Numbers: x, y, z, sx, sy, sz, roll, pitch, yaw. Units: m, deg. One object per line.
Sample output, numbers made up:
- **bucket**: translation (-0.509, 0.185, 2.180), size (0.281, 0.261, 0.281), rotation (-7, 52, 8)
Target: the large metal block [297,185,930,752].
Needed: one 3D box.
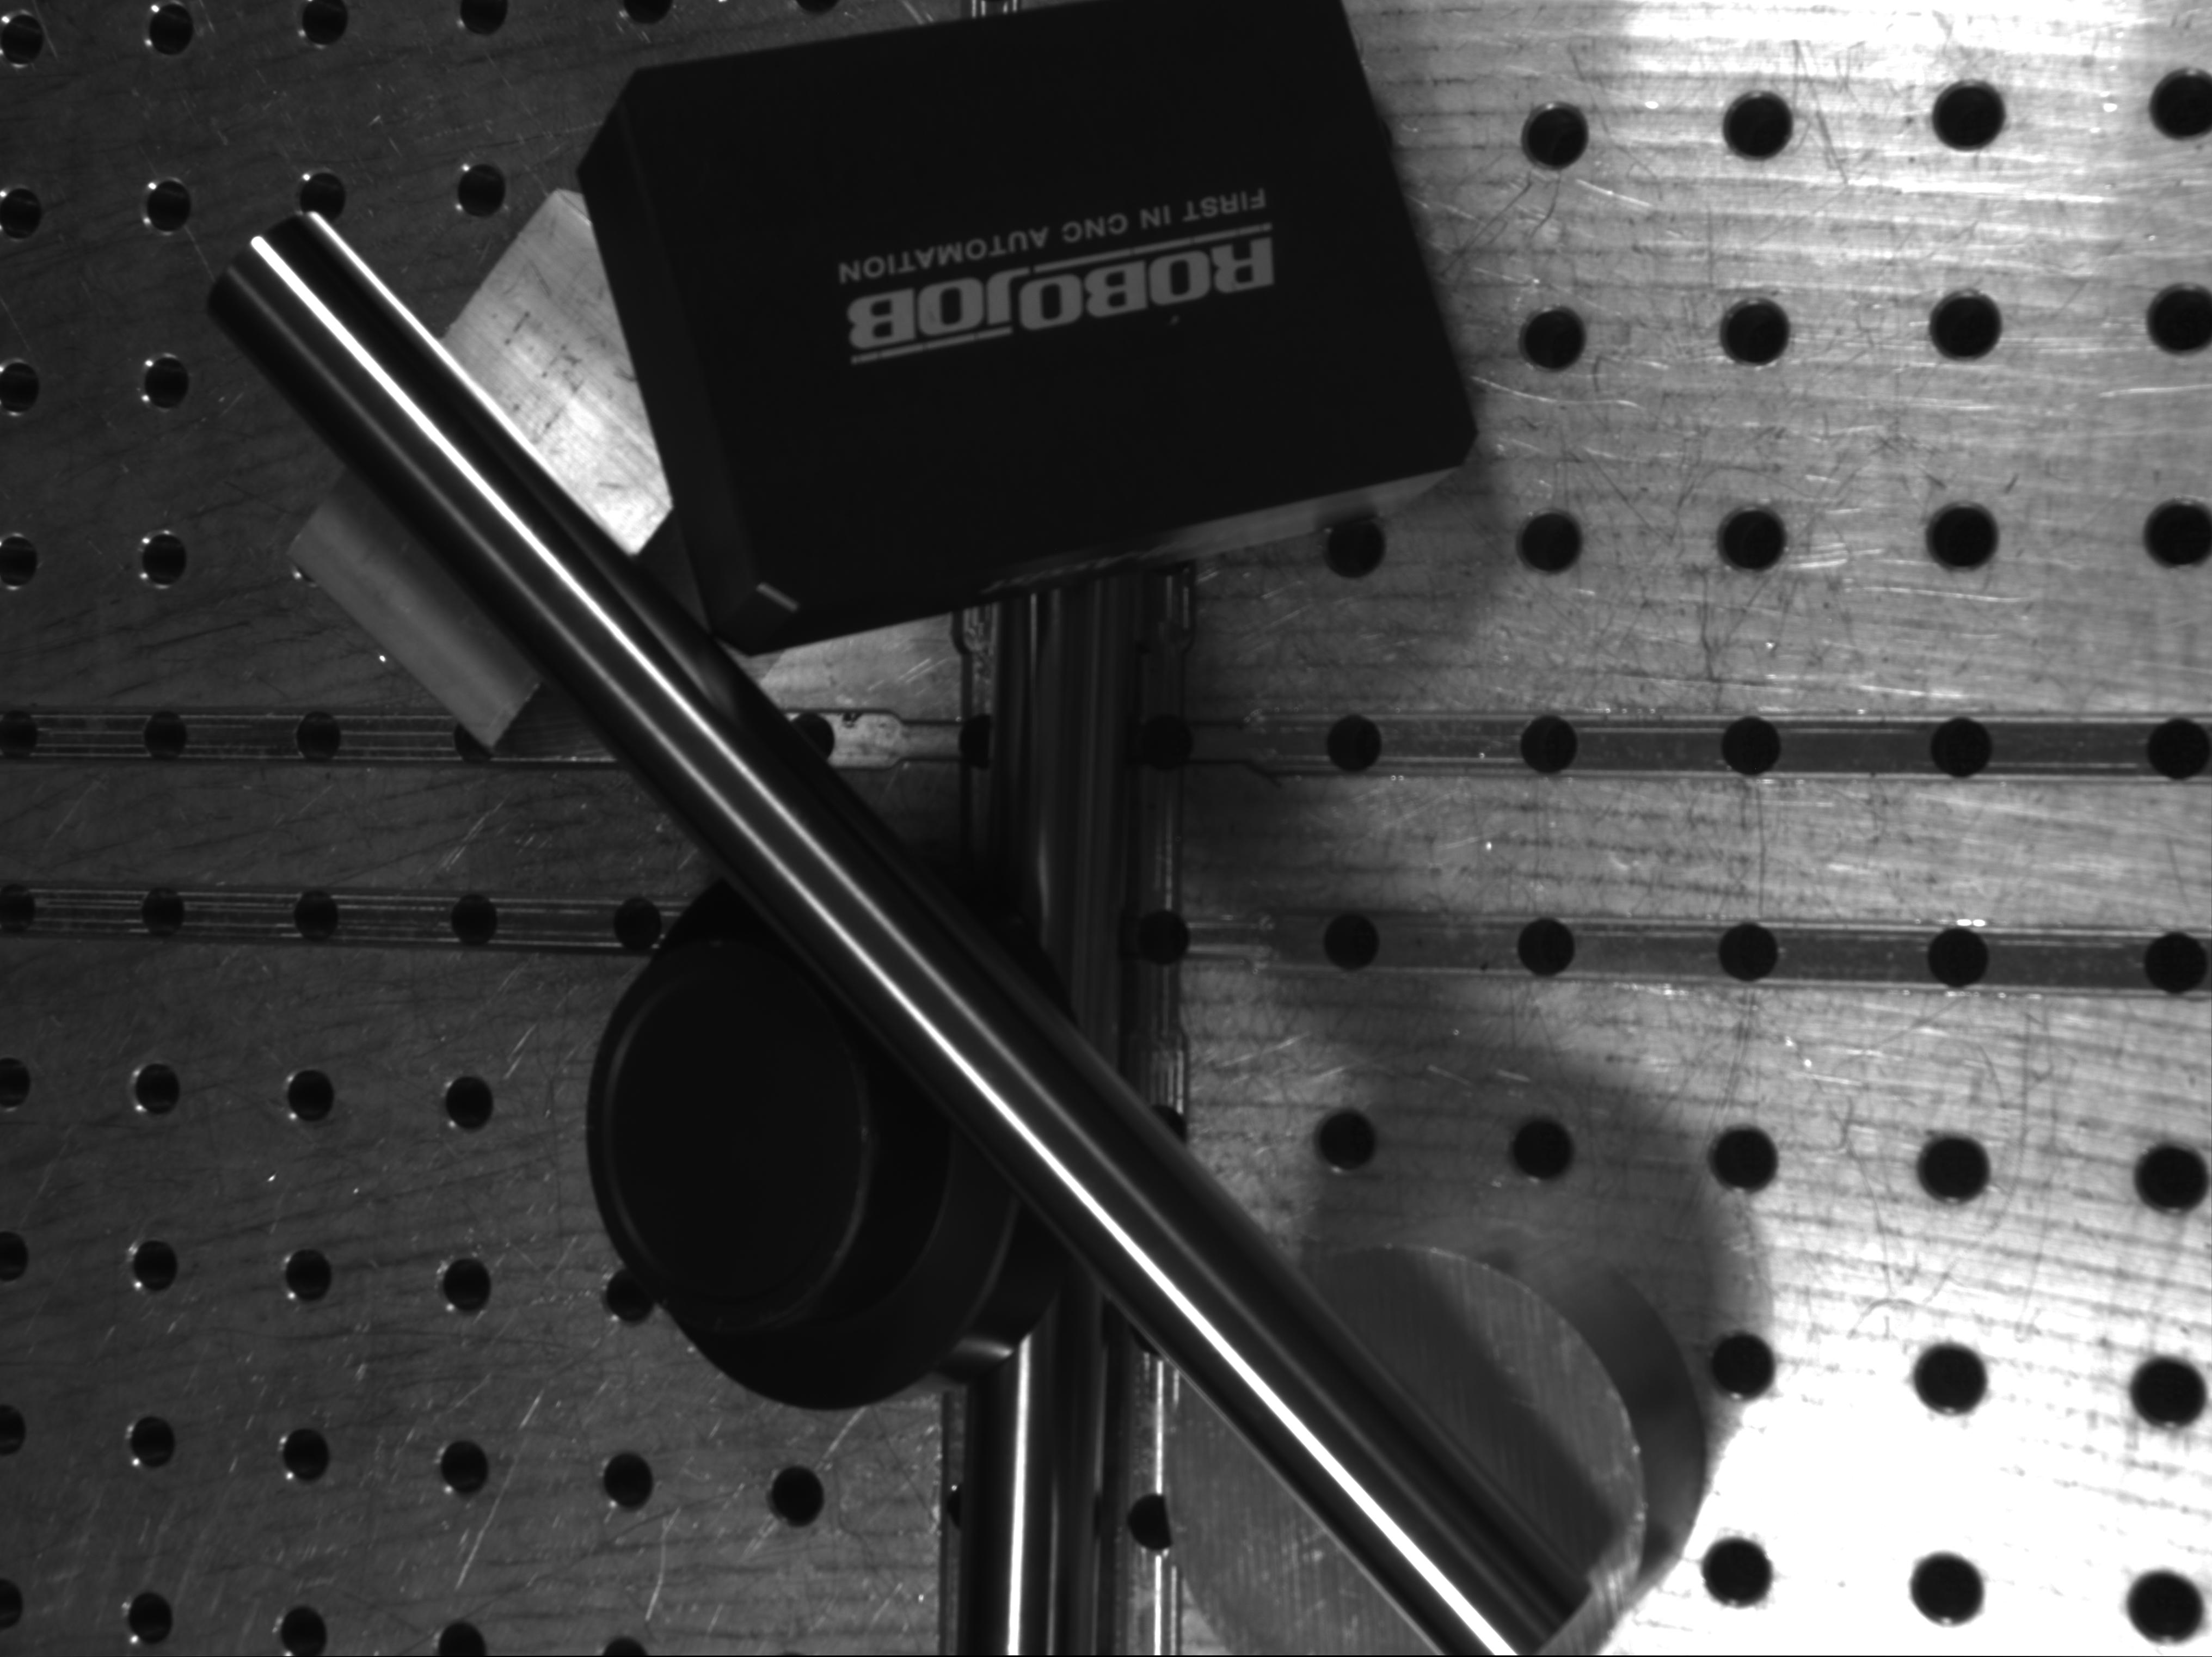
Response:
- **large metal block**: translation (-0.082, -0.060, 0.648), size (0.050, 0.080, 0.080), rotation (43, 103, 15)

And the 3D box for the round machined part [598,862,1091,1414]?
- **round machined part**: translation (-0.050, 0.053, 0.639), size (0.098, 0.042, 0.098), rotation (0, 89, 37)

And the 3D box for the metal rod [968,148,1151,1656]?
- **metal rod**: translation (-0.007, 0.024, 0.649), size (0.025, 0.025, 0.300), rotation (2, 91, 20)

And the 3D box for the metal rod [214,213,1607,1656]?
- **metal rod**: translation (-0.034, 0.017, 0.584), size (0.025, 0.025, 0.300), rotation (-45, 84, 14)

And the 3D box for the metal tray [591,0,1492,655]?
- **metal tray**: translation (-0.010, -0.087, 0.606), size (0.130, 0.030, 0.090), rotation (-14, 83, -23)

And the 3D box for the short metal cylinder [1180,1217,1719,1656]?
- **short metal cylinder**: translation (0.058, 0.107, 0.613), size (0.080, 0.050, 0.080), rotation (0, 90, 20)
